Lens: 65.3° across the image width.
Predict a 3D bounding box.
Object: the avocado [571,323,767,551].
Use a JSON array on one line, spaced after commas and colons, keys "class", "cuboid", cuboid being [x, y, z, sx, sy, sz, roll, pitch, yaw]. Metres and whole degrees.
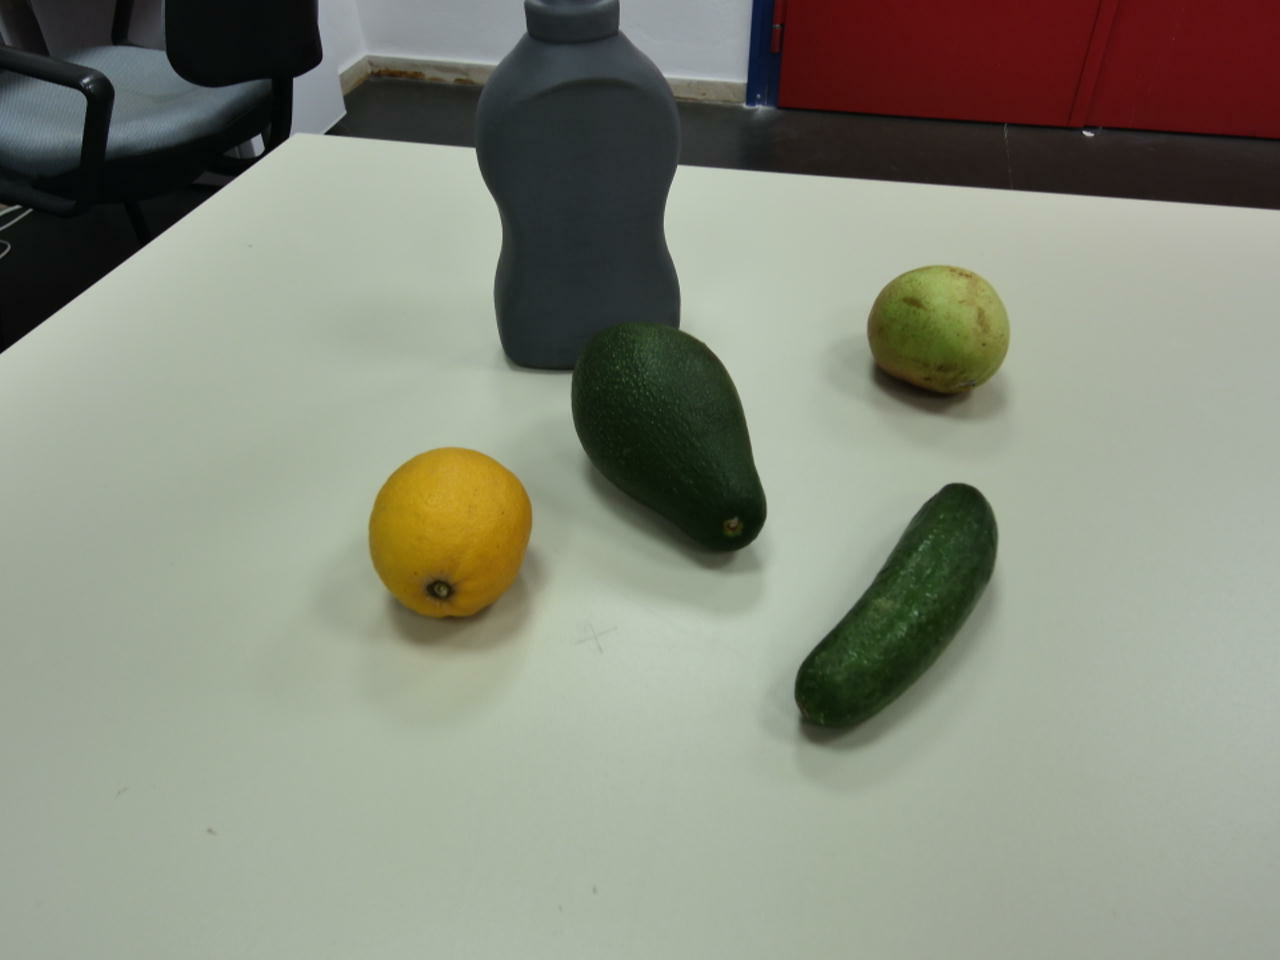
[{"class": "avocado", "cuboid": [0.009, -0.022, 0.420, 0.072, 0.071, 0.109, -6, 38, -7]}]
